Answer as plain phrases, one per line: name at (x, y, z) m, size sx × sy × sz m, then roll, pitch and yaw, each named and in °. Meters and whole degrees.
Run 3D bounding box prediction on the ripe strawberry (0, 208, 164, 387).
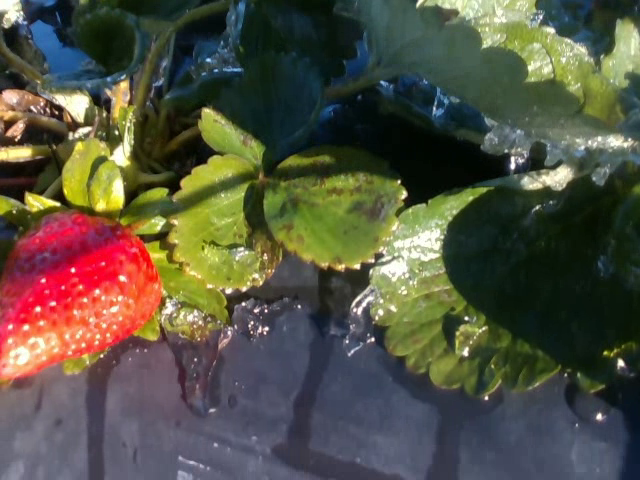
ripe strawberry at (-0.069, 0.022, 0.153) m, size 0.042 × 0.046 × 0.061 m, roll 4°, pitch 31°, yaw 17°
